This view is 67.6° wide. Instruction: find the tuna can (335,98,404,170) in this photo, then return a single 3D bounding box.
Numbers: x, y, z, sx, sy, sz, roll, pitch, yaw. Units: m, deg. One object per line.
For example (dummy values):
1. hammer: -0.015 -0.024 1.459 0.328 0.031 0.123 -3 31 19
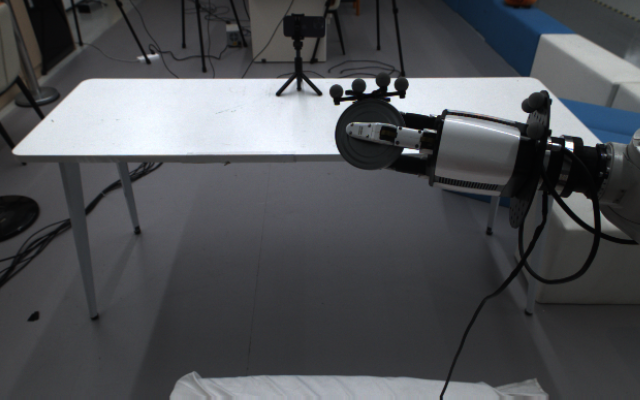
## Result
1. tuna can: 0.064 -0.080 0.596 0.085 0.085 0.034 10 3 11
